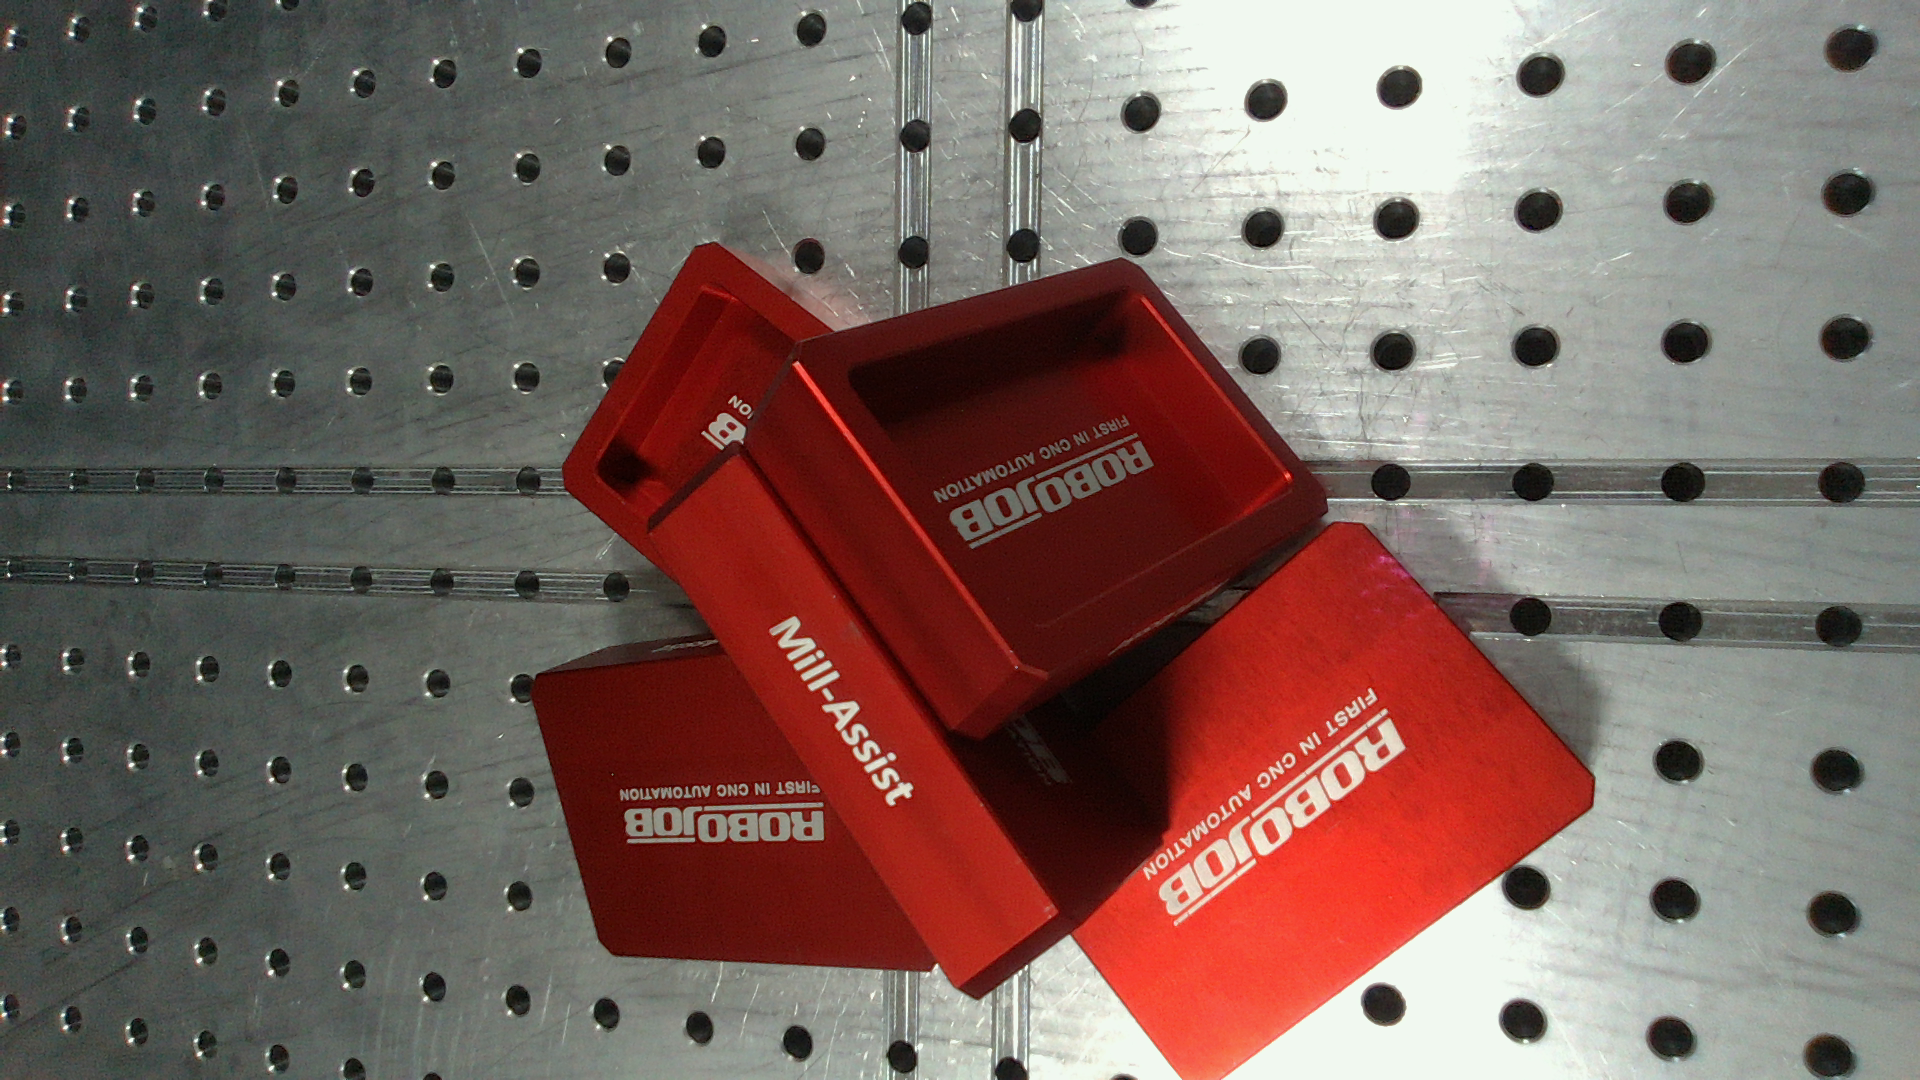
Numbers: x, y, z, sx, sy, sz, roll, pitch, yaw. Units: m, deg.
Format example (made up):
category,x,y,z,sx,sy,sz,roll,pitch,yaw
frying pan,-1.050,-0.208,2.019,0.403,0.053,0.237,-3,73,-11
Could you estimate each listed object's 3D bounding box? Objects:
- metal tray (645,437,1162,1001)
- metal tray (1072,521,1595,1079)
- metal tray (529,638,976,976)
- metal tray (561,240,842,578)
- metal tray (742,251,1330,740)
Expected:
category,x,y,z,sx,sy,sz,roll,pitch,yaw
metal tray,-0.010,0.037,0.335,0.030,0.090,0.130,-40,77,16
metal tray,0.085,0.069,0.364,0.130,0.030,0.090,-43,77,15
metal tray,-0.060,0.073,0.392,0.129,0.030,0.090,-9,98,34
metal tray,-0.047,-0.017,0.413,0.130,0.030,0.090,38,102,16
metal tray,0.024,-0.018,0.334,0.090,0.131,0.030,53,134,12
